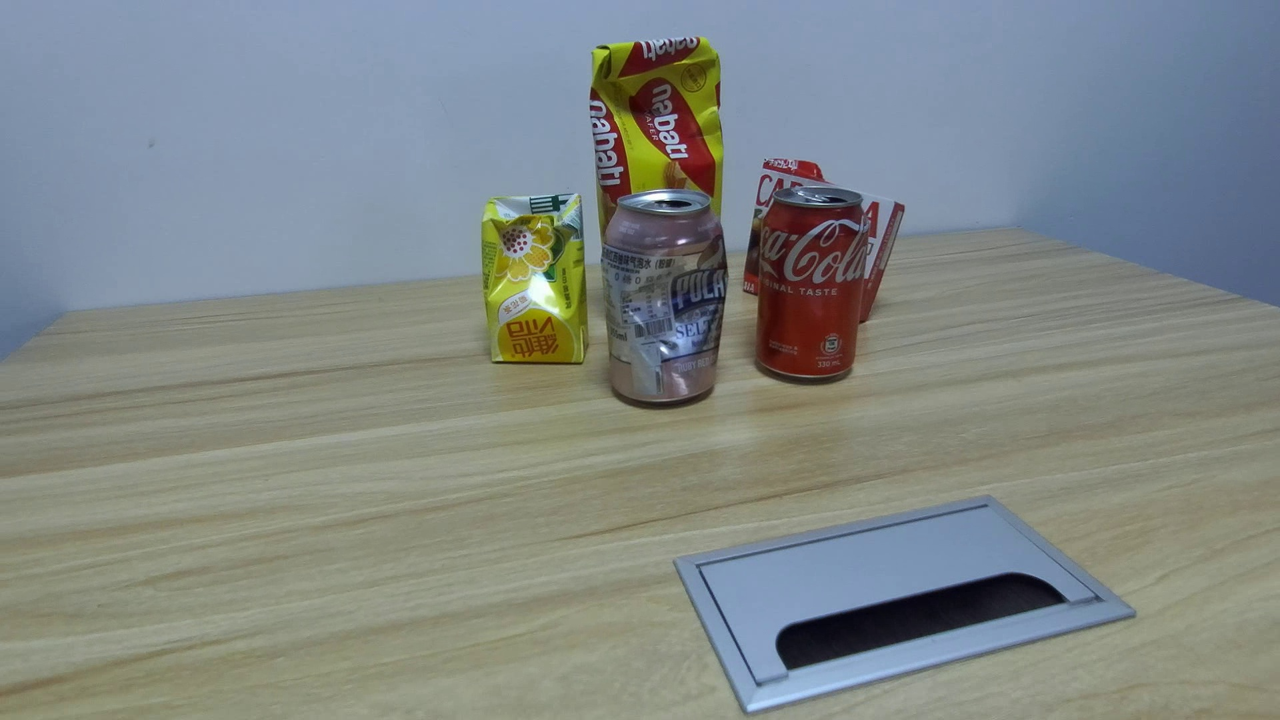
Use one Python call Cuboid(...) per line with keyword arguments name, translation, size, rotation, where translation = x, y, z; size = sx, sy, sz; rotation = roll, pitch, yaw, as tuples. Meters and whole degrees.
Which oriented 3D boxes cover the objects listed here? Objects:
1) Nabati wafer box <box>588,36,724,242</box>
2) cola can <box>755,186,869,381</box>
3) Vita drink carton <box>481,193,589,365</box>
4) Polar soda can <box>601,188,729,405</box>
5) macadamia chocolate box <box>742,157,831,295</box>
Cuboid(name="Nabati wafer box", translation=(0.016, -0.128, 0.531), size=(0.114, 0.205, 0.042), rotation=(-25, 33, -39))
Cuboid(name="cola can", translation=(0.110, -0.049, 0.456), size=(0.068, 0.120, 0.068), rotation=(0, 23, 0))
Cuboid(name="Vita drink carton", translation=(-0.072, -0.055, 0.487), size=(0.071, 0.110, 0.046), rotation=(-1, 20, 4))
Cuboid(name="Polar soda can", translation=(0.016, -0.036, 0.429), size=(0.074, 0.122, 0.067), rotation=(0, 23, 5))
Cuboid(name="macadamia chocolate box", translation=(0.146, -0.099, 0.576), size=(0.056, 0.112, 0.126), rotation=(-17, 30, -33))
